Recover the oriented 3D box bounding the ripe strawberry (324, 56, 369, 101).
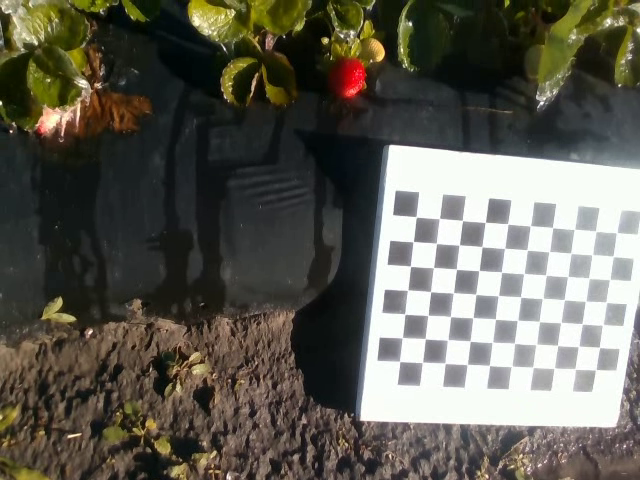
[{"bbox_3d":[0.021,-0.113,0.449,0.039,0.040,0.039,-4,34,1],"label":"ripe strawberry"}]
